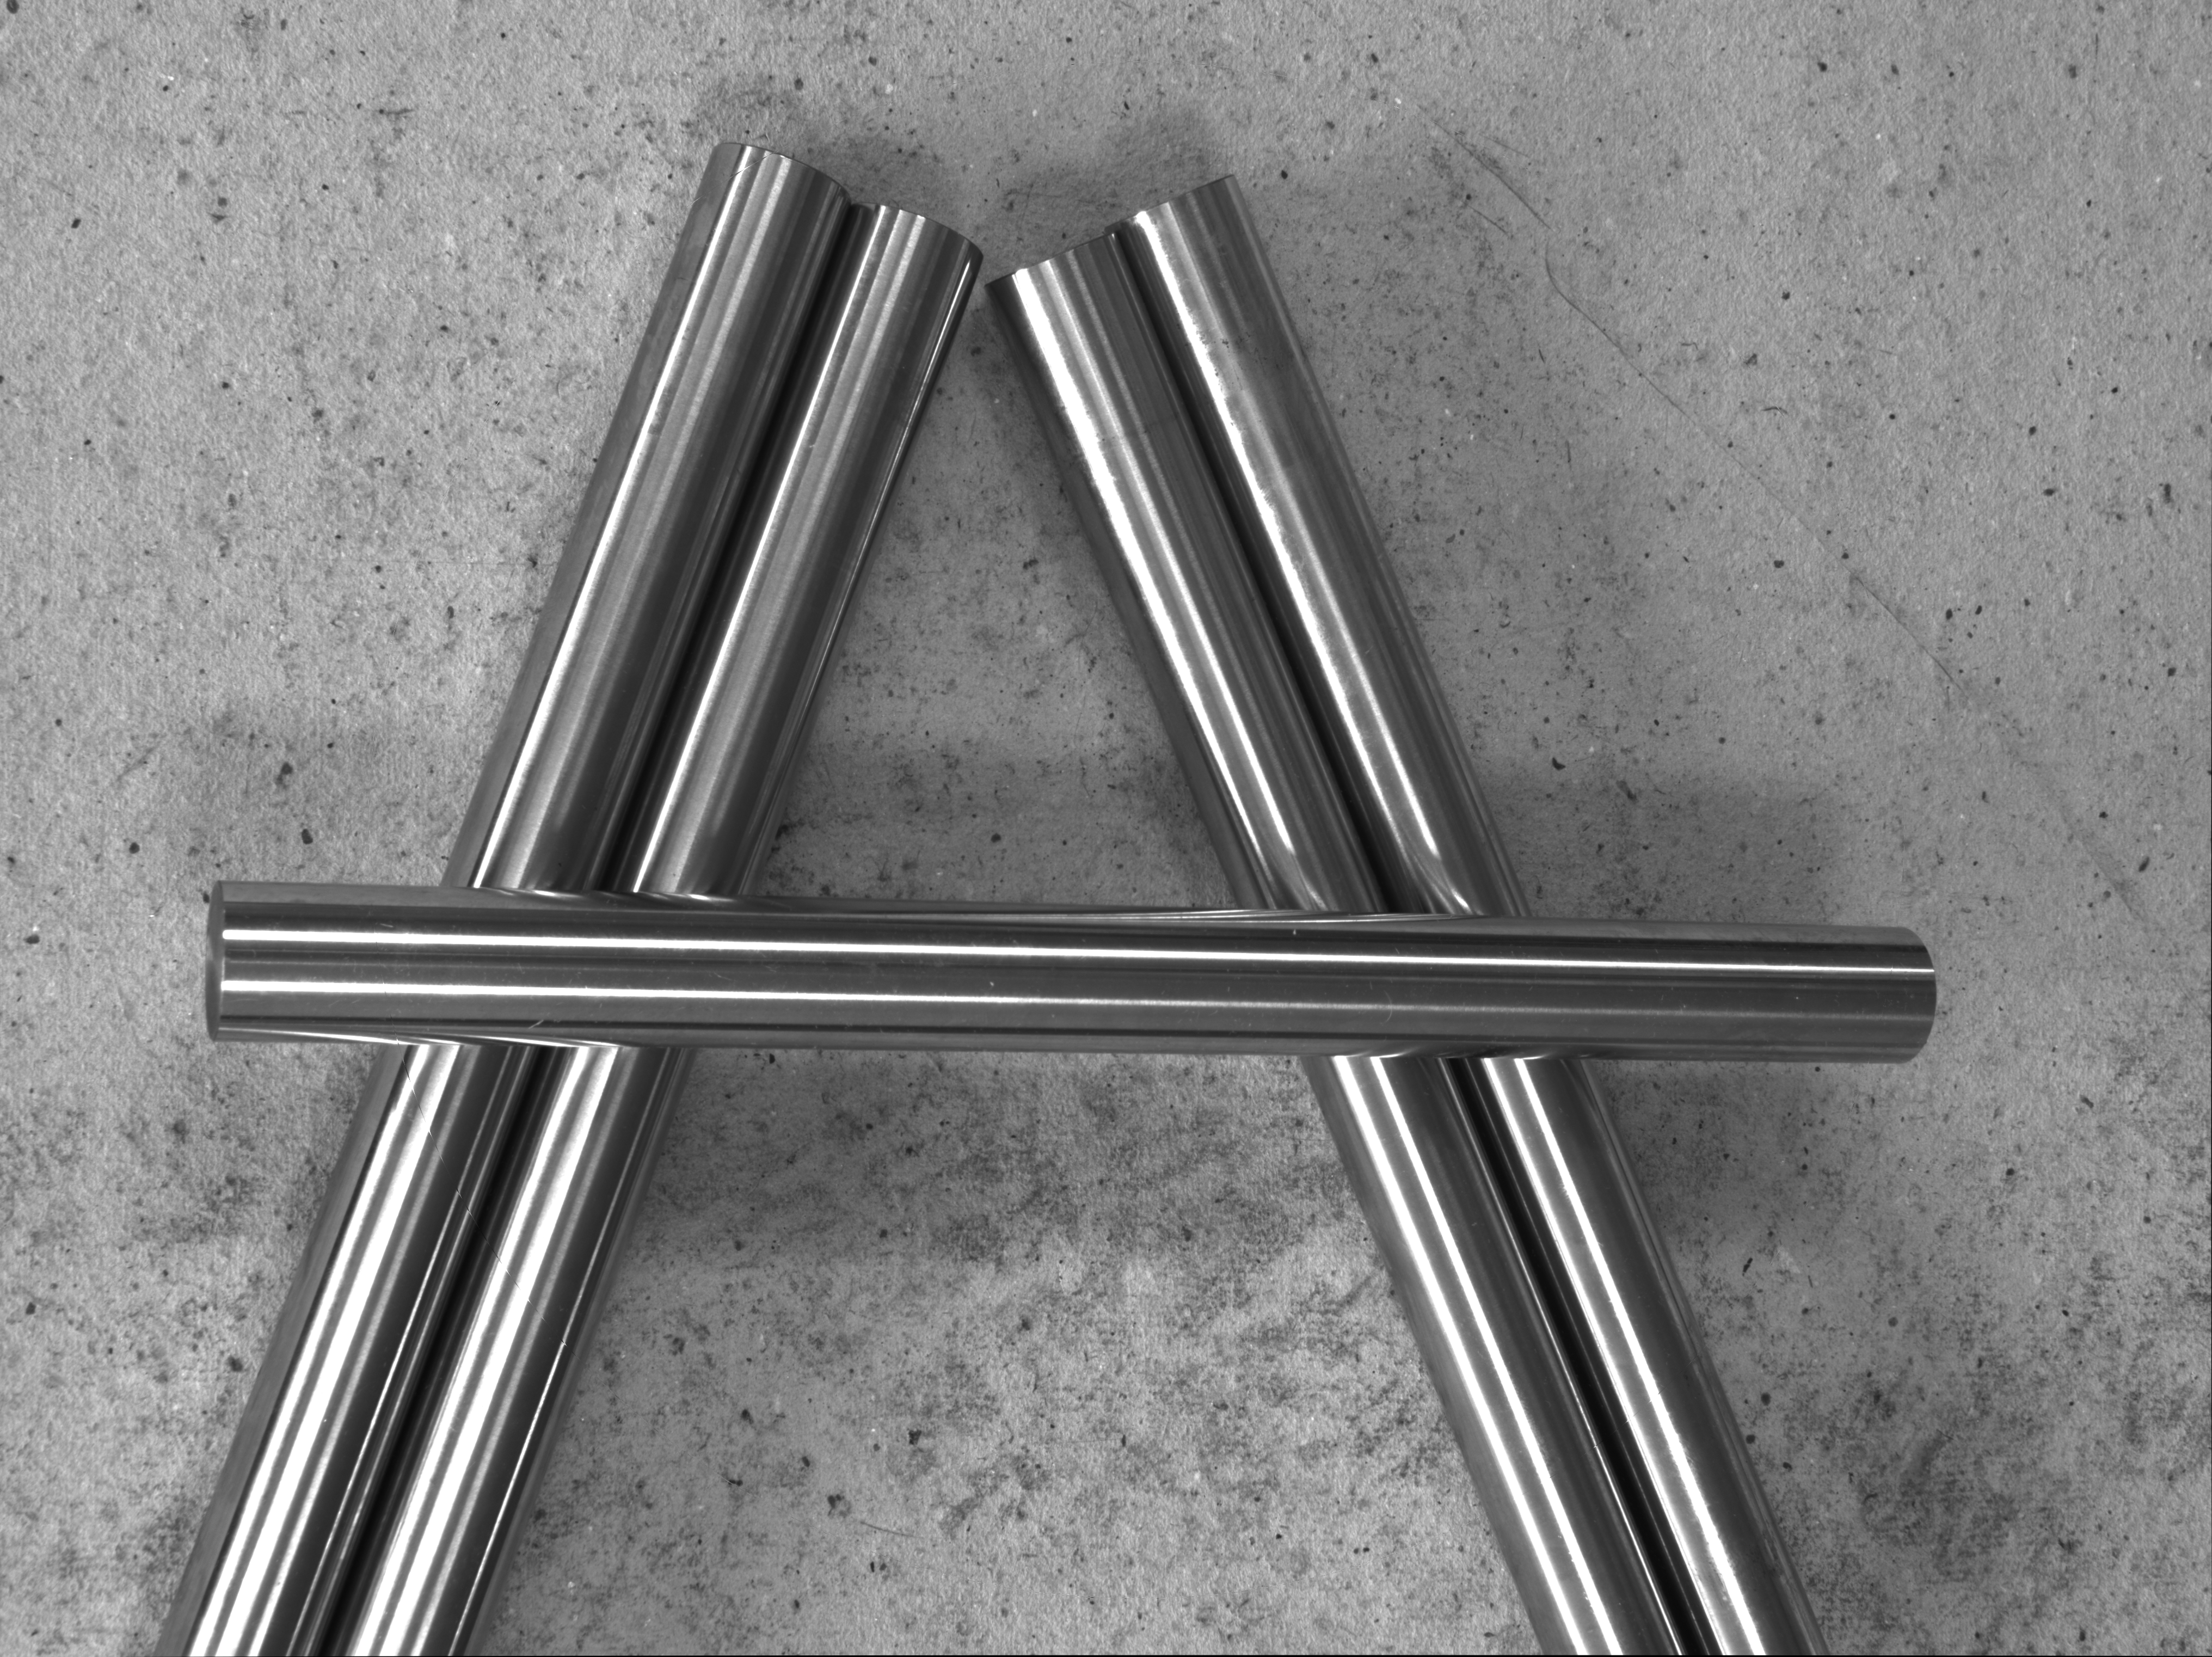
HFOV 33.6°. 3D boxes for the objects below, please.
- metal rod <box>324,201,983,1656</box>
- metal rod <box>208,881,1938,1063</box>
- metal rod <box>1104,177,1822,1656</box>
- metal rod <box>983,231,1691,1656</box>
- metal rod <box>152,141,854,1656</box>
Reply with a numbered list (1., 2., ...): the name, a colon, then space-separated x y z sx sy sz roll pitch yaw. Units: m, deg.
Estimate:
1. metal rod: -0.082 0.038 0.613 0.025 0.025 0.300 21 83 -18
2. metal rod: 0.004 0.025 0.618 0.301 0.025 0.025 2 89 -20
3. metal rod: 0.068 0.027 0.668 0.025 0.025 0.300 -25 98 -18
4. metal rod: 0.047 0.038 0.660 0.025 0.025 0.300 -25 98 -18
5. metal rod: -0.104 0.029 0.605 0.025 0.025 0.300 22 83 -18
